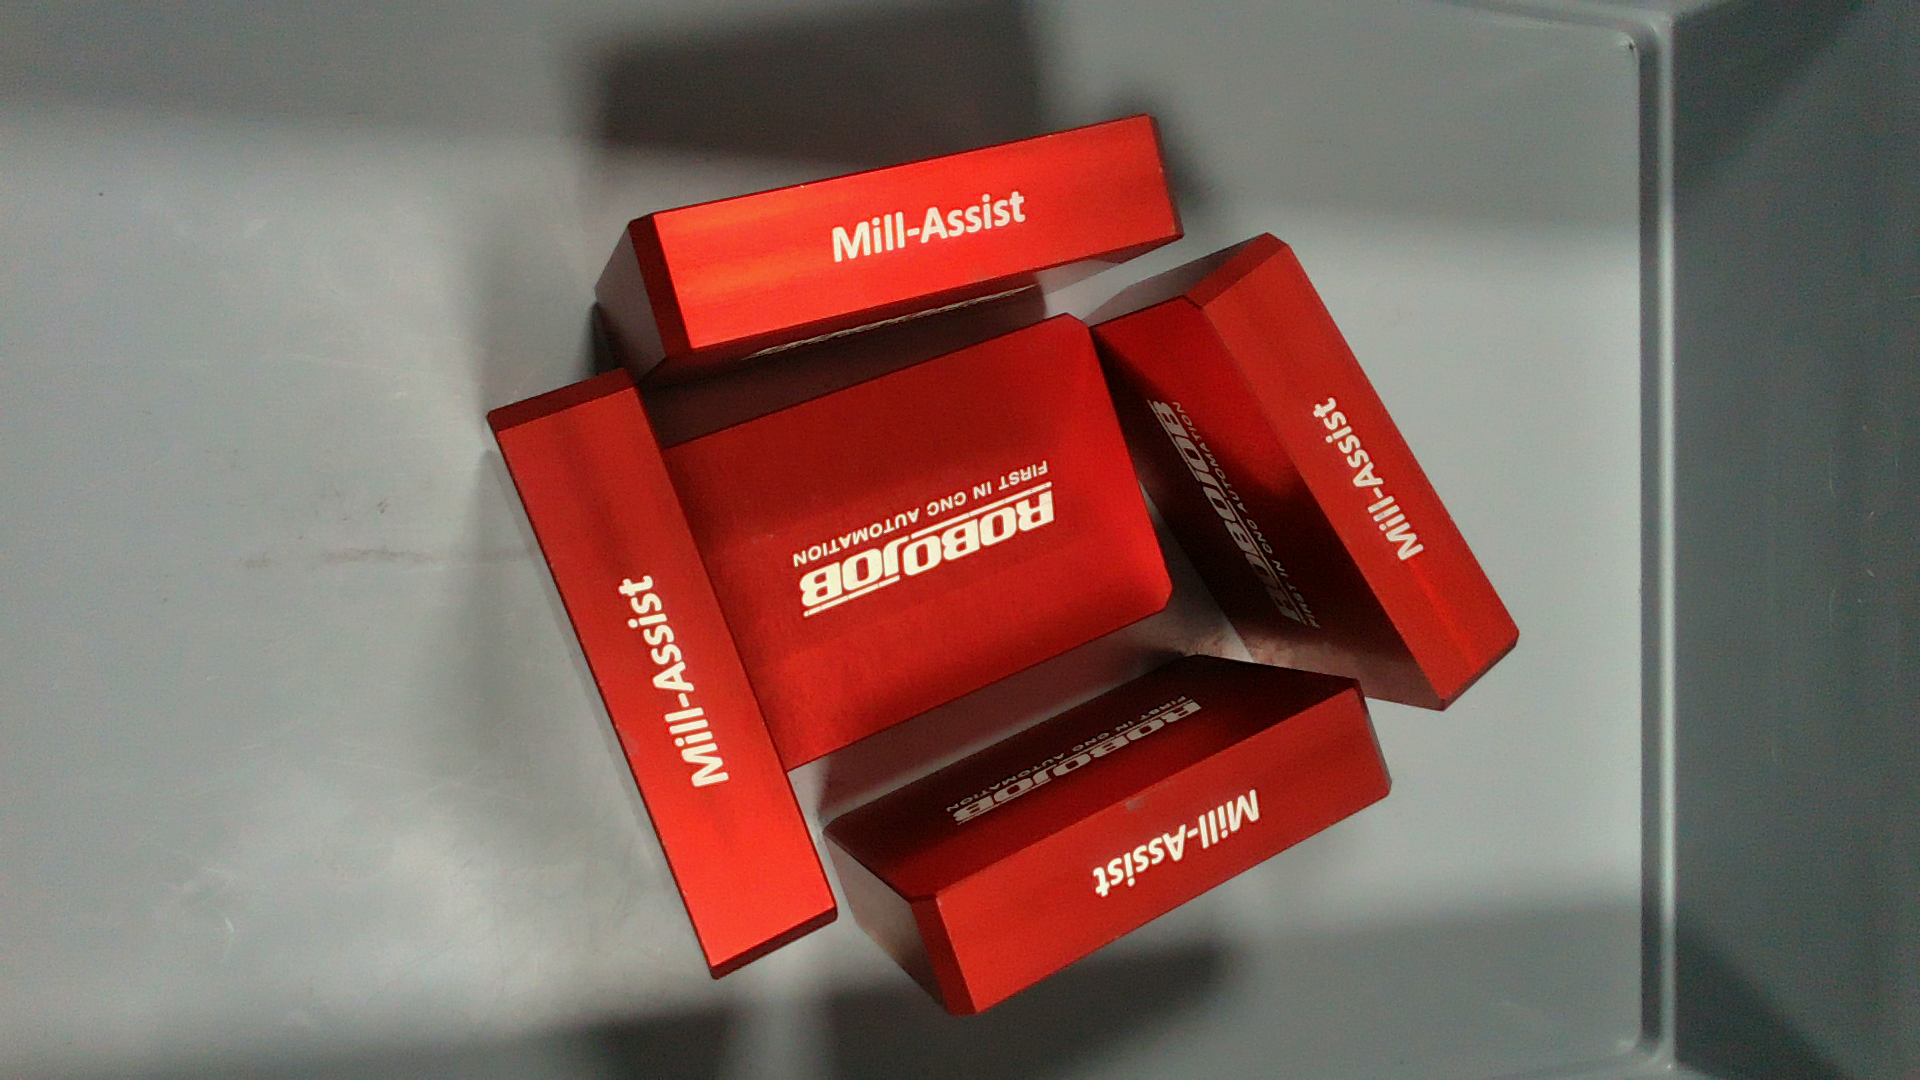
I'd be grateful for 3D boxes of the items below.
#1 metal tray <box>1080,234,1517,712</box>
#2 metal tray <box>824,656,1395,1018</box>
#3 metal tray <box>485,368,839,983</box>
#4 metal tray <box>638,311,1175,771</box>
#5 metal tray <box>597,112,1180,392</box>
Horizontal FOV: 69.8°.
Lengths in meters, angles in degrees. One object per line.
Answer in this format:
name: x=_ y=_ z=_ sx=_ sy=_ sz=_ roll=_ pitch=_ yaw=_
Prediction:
metal tray: x=0.089 y=-0.016 z=0.390 sx=0.030 sy=0.090 sz=0.130 roll=-38 pitch=102 yaw=-15
metal tray: x=0.037 y=0.073 z=0.371 sx=0.130 sy=0.090 sz=0.030 roll=-22 pitch=97 yaw=-19
metal tray: x=-0.075 y=0.030 z=0.330 sx=0.030 sy=0.090 sz=0.130 roll=-22 pitch=98 yaw=-18
metal tray: x=-0.013 y=-0.001 z=0.383 sx=0.130 sy=0.030 sz=0.090 roll=-21 pitch=97 yaw=-19
metal tray: x=-0.022 y=-0.071 z=0.349 sx=0.130 sy=0.090 sz=0.030 roll=-17 pitch=96 yaw=-19
